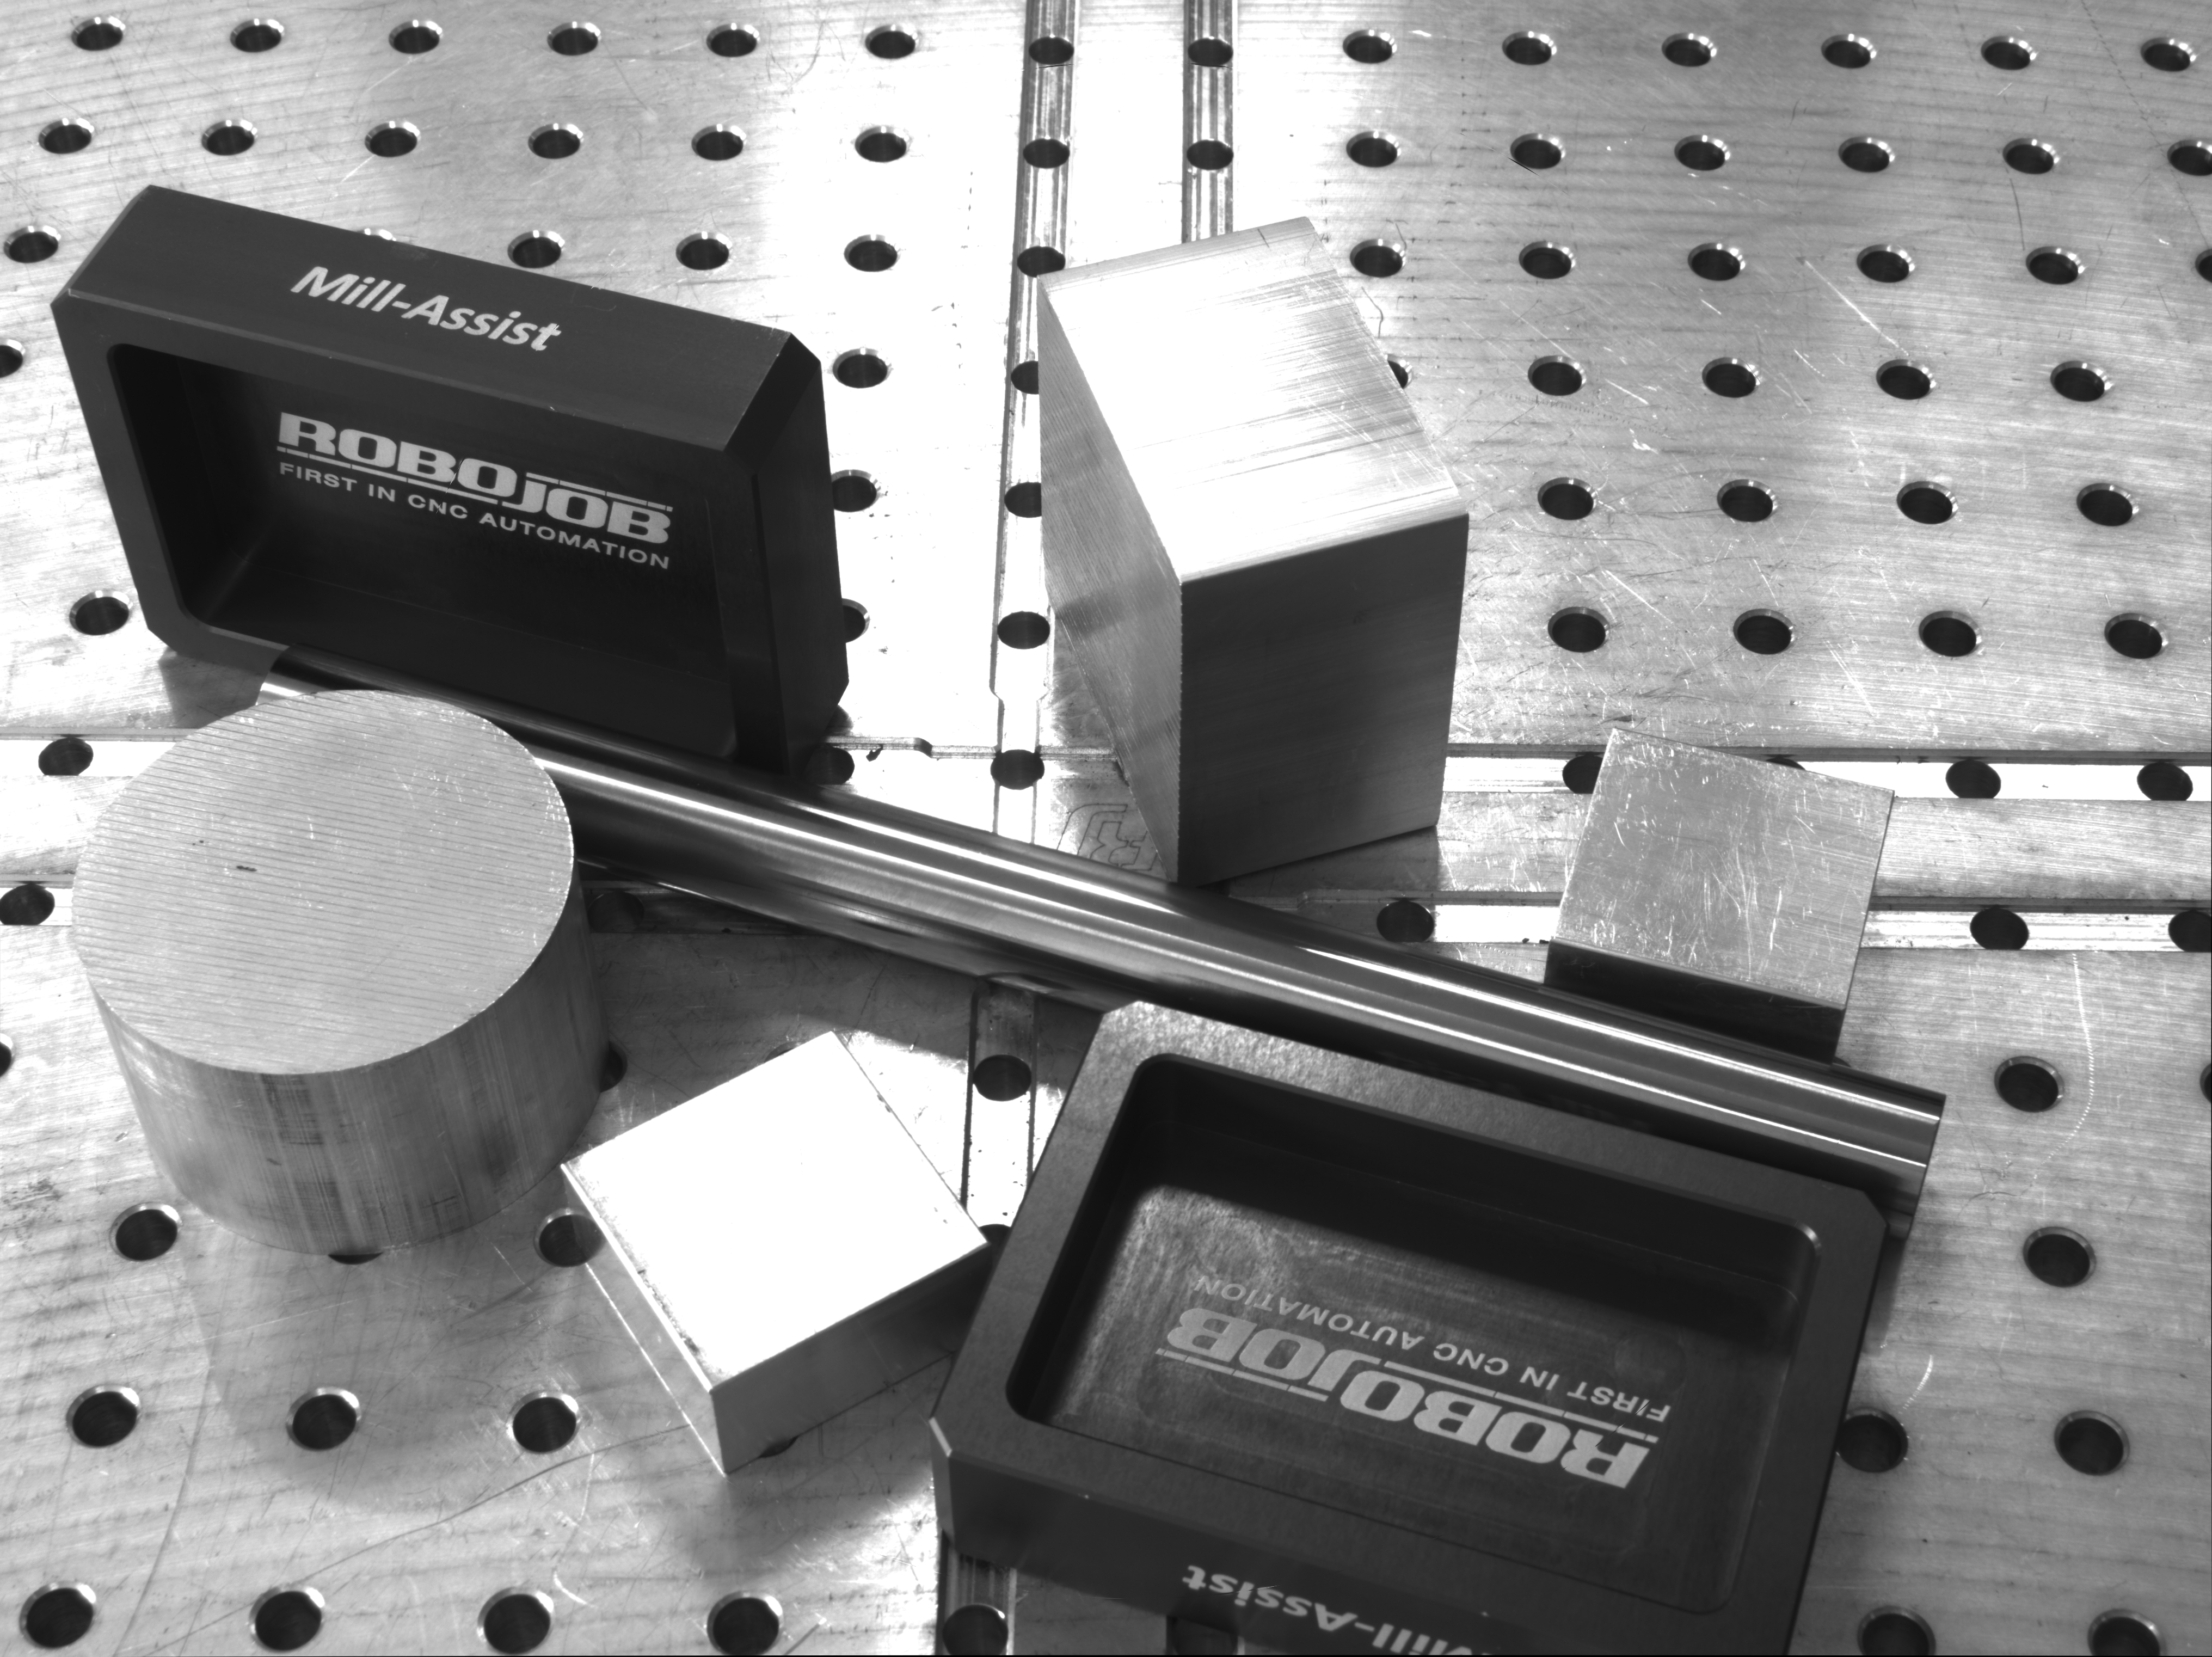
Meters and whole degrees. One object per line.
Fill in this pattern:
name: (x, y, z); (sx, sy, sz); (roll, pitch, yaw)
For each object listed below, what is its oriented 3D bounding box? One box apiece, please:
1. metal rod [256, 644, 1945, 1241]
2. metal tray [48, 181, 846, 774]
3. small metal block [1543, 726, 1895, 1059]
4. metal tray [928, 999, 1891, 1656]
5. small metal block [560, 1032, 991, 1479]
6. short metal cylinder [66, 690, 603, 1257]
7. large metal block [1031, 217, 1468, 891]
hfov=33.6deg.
metal rod: (-0.008, 0.017, 0.630); (0.299, 0.025, 0.025); (15, 52, 12)
metal tray: (-0.114, -0.059, 0.650); (0.130, 0.090, 0.030); (14, 52, 12)
small metal block: (0.105, 0.014, 0.633); (0.050, 0.025, 0.050); (13, 51, 11)
metal tray: (0.048, 0.084, 0.570); (0.130, 0.030, 0.090); (14, 52, 12)
small metal block: (-0.052, 0.068, 0.589); (0.050, 0.025, 0.050); (-26, 54, -20)
short metal cylinder: (-0.126, 0.023, 0.608); (0.080, 0.050, 0.080); (0, 50, 0)
large metal block: (0.023, -0.047, 0.651); (0.050, 0.080, 0.080); (-14, 51, -11)
